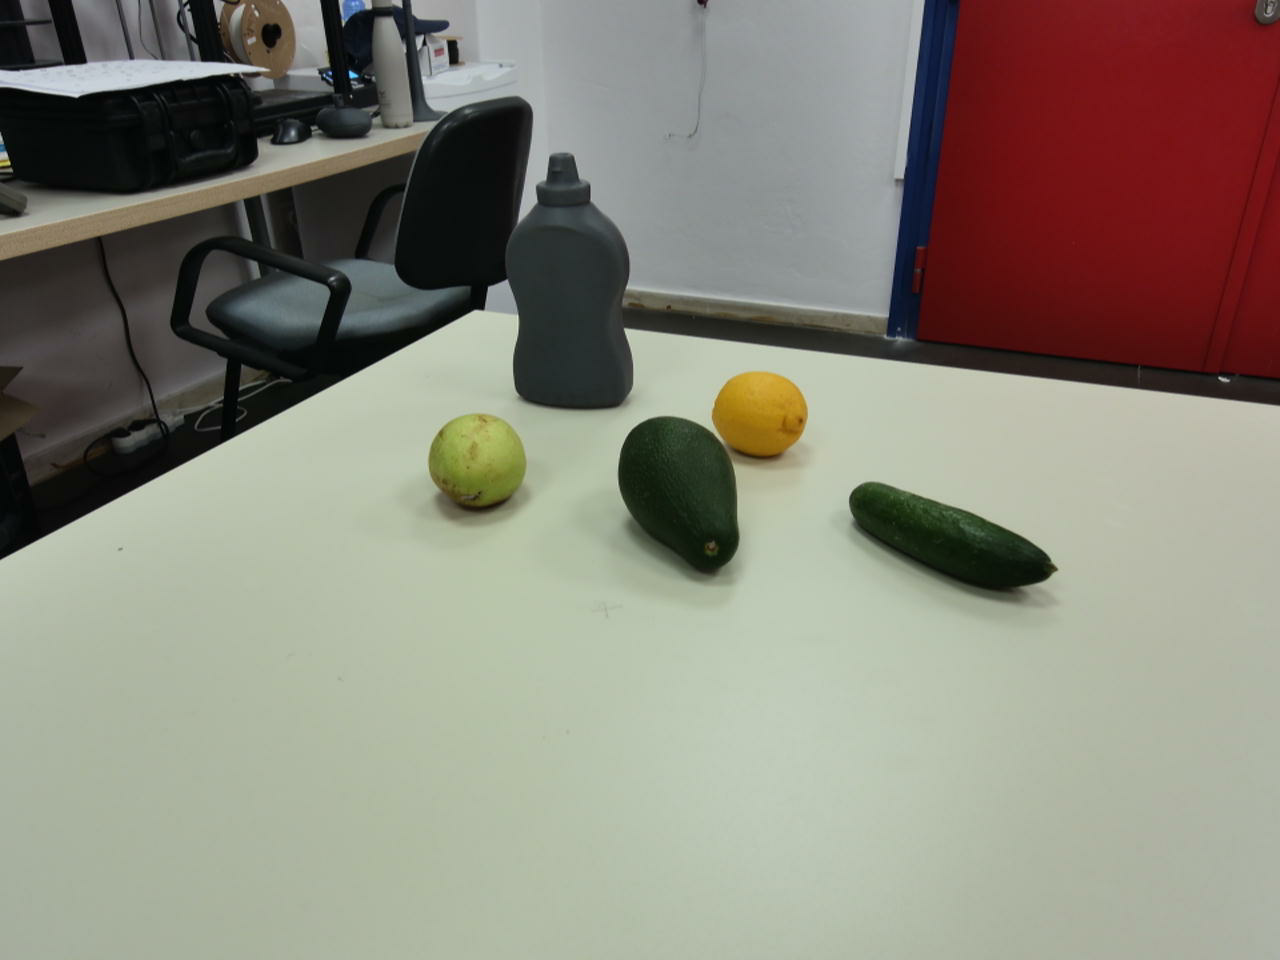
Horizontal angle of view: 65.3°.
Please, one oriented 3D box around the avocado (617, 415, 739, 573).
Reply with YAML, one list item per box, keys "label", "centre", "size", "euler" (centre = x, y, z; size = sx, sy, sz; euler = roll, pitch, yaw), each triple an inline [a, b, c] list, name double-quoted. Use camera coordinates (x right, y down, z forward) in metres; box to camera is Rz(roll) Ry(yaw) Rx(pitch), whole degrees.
- label: "avocado"
  centre: [0.022, 0.005, 0.596]
  size: [0.072, 0.071, 0.109]
  euler: [1, 26, 1]
